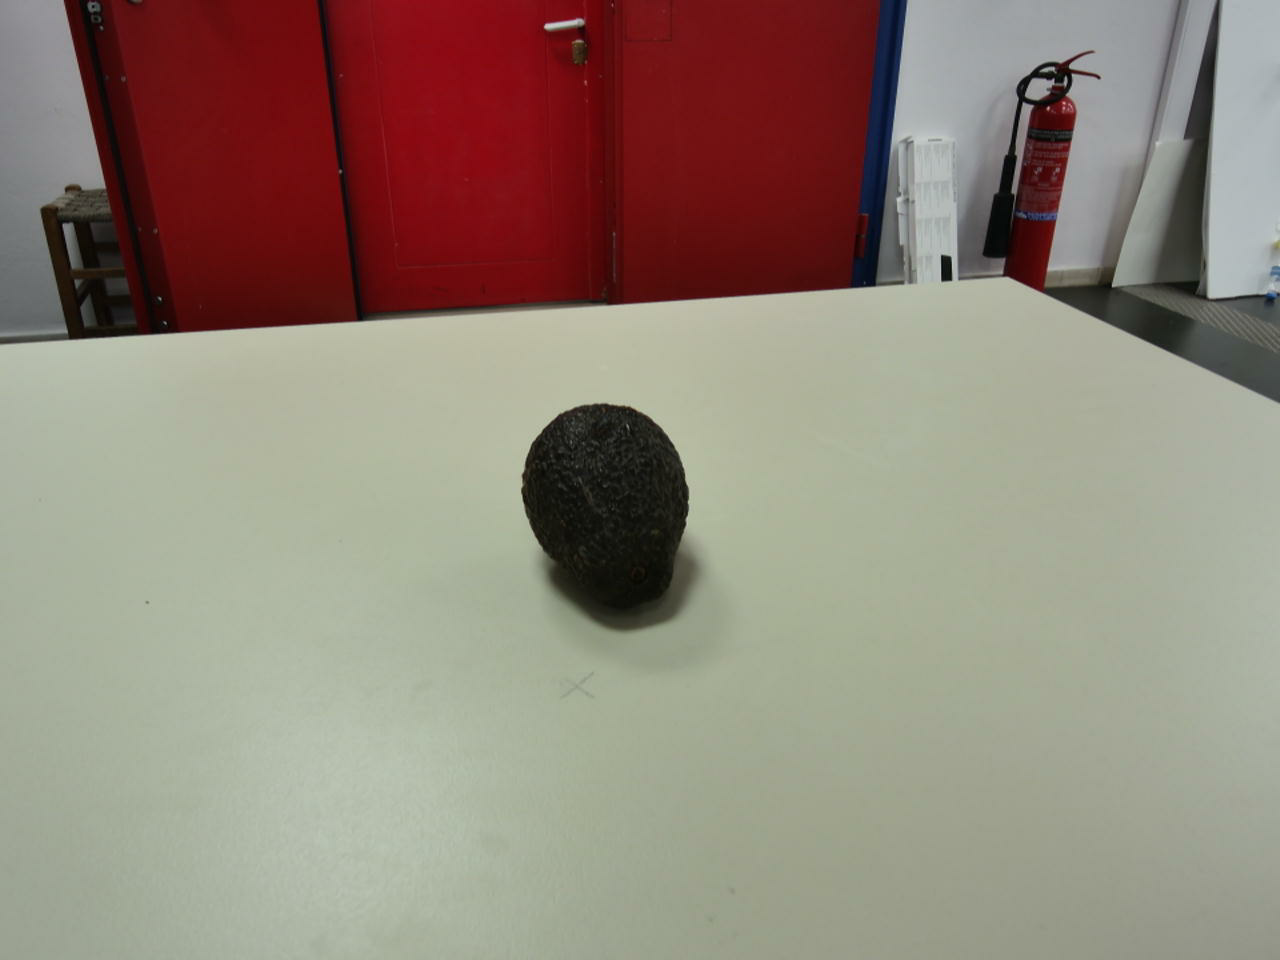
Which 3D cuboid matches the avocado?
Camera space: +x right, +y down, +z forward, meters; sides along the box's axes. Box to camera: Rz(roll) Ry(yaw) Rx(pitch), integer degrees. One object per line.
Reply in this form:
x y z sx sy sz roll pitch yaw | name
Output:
-0.016 0.006 0.414 0.070 0.069 0.090 3 25 11 | avocado
